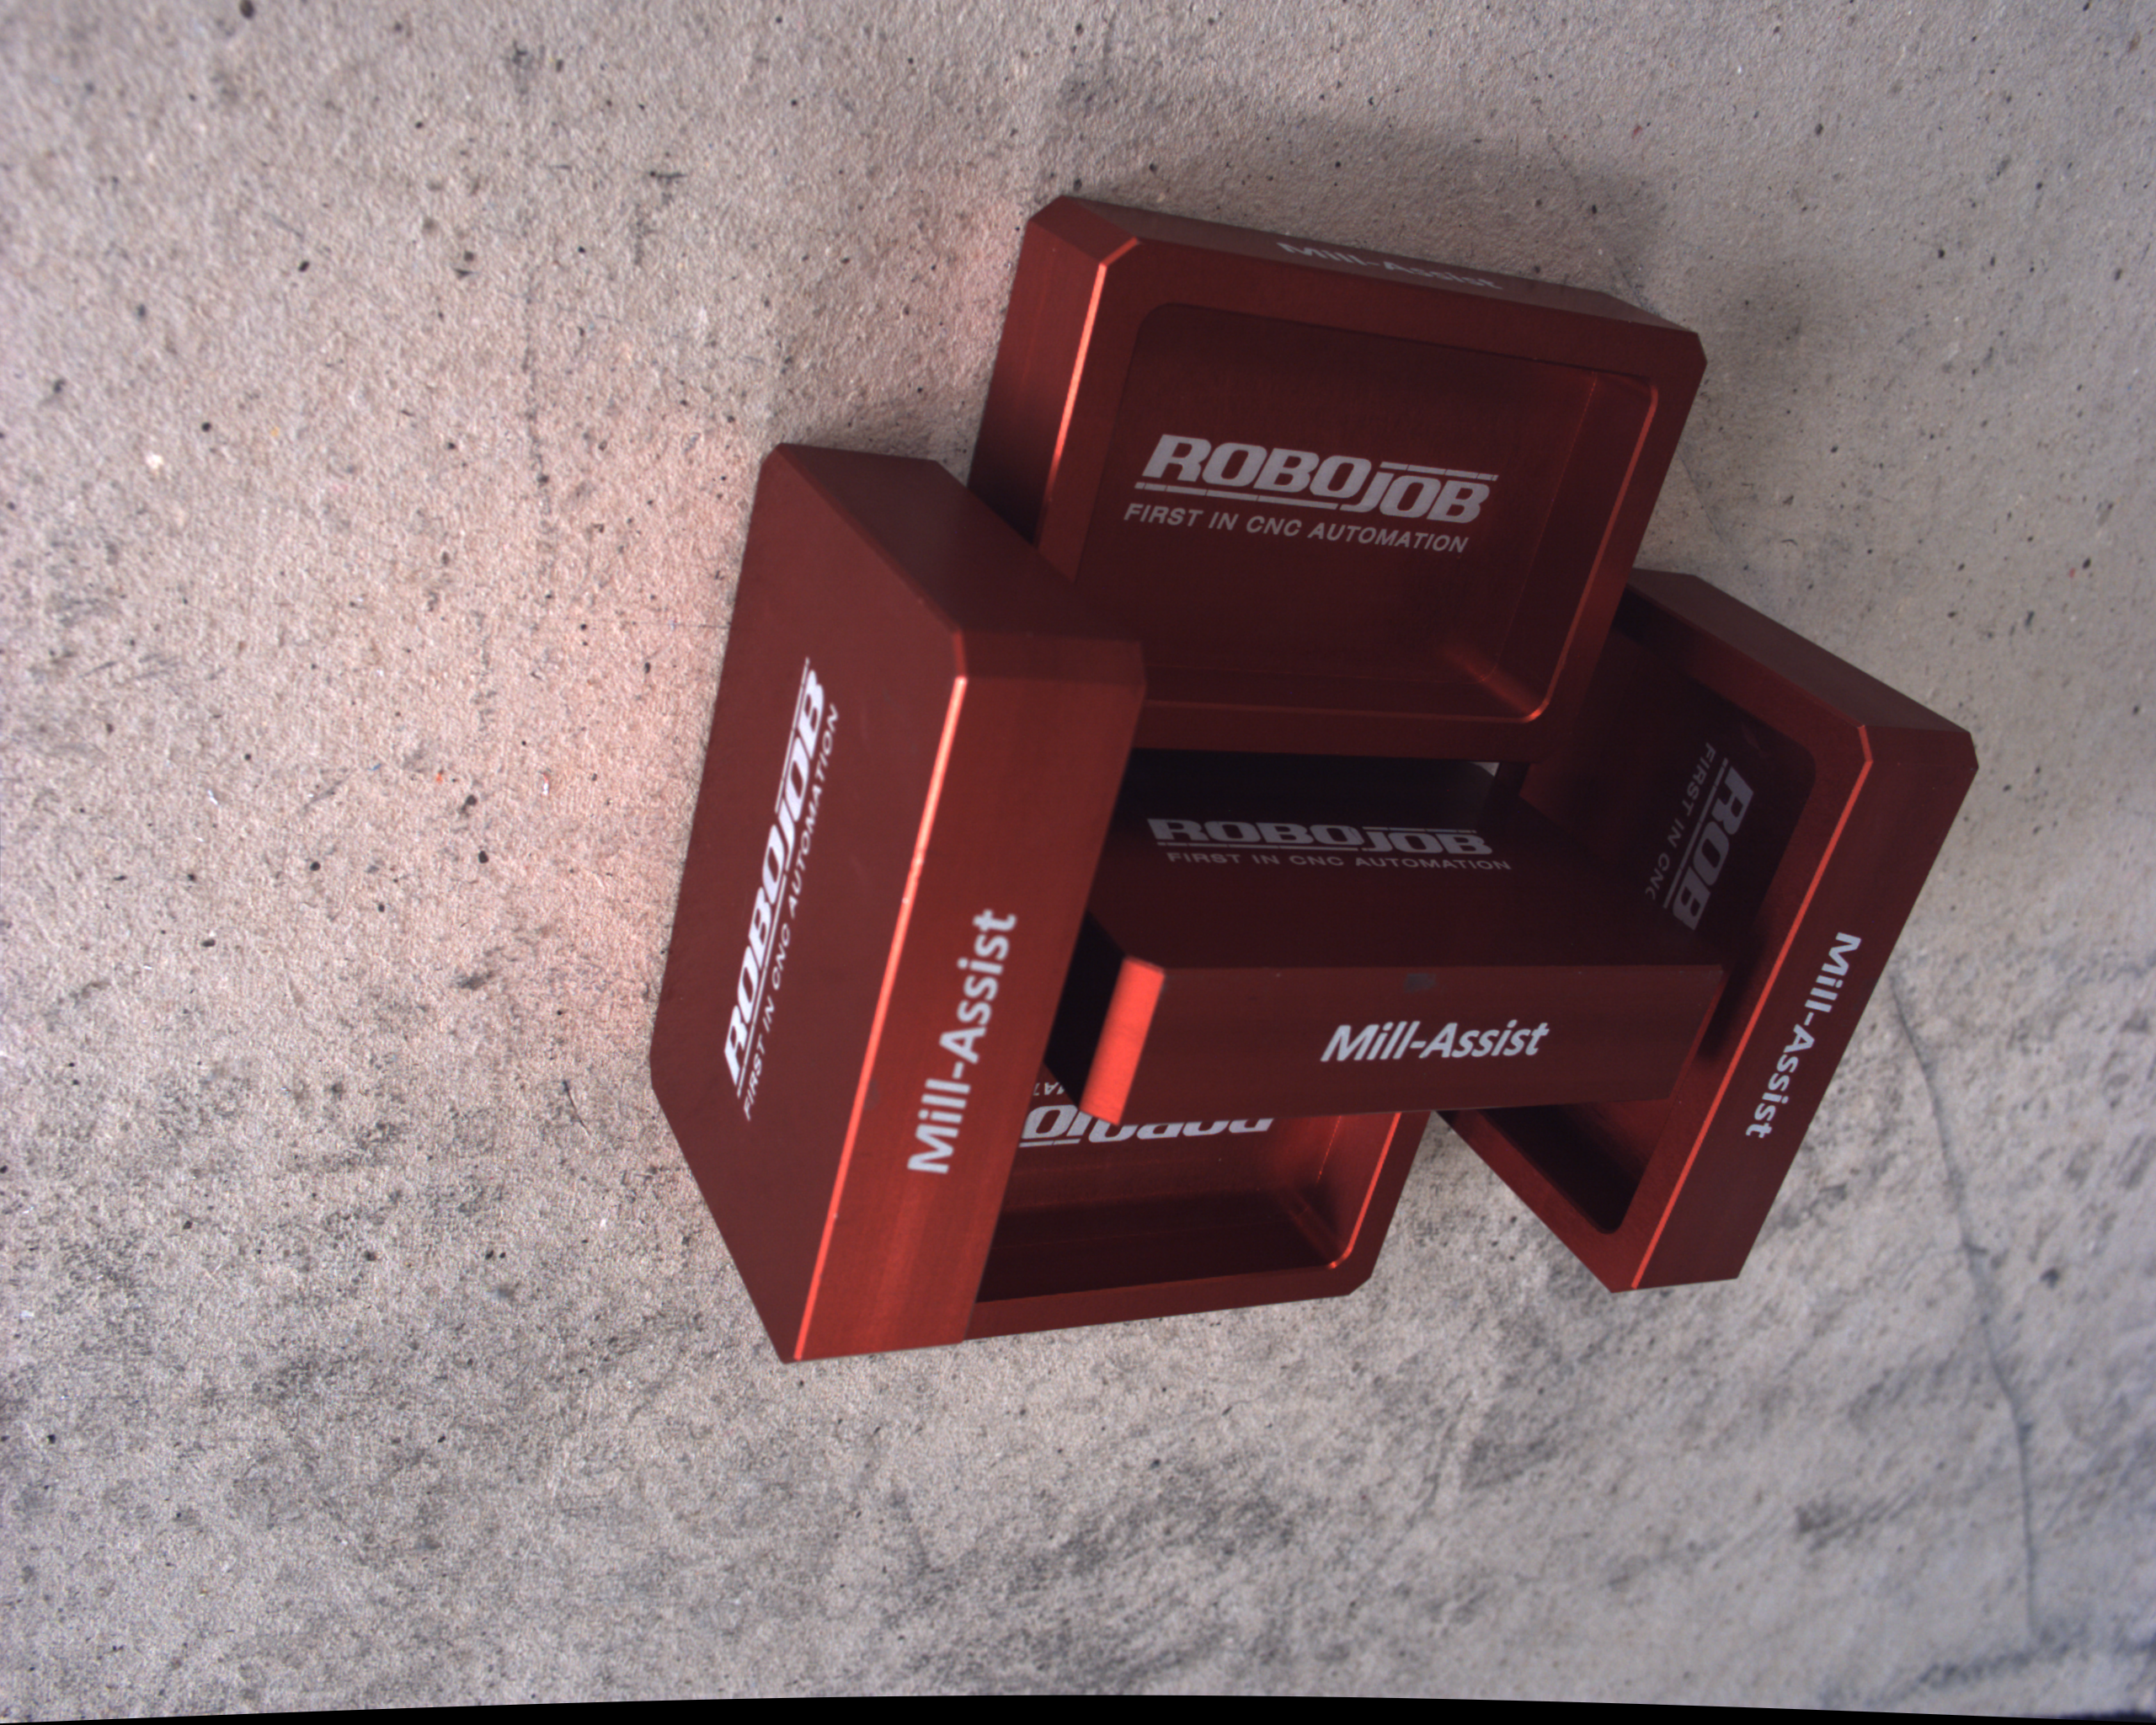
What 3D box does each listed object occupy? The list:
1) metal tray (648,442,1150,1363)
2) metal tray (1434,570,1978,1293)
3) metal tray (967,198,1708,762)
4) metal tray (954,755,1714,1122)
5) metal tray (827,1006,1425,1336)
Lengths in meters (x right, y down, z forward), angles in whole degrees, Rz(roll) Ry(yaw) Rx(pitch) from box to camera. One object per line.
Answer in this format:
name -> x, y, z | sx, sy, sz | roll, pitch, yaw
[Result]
metal tray -> -0.036, 0.006, 0.350 | 0.030, 0.090, 0.129 | 1, 119, -29
metal tray -> 0.122, 0.013, 0.441 | 0.030, 0.090, 0.129 | 1, 118, -29
metal tray -> 0.045, -0.066, 0.389 | 0.131, 0.030, 0.089 | 0, 121, -29
metal tray -> 0.042, 0.009, 0.396 | 0.131, 0.090, 0.030 | 1, 119, -29
metal tray -> 0.013, 0.053, 0.447 | 0.131, 0.030, 0.089 | 0, 117, -29
